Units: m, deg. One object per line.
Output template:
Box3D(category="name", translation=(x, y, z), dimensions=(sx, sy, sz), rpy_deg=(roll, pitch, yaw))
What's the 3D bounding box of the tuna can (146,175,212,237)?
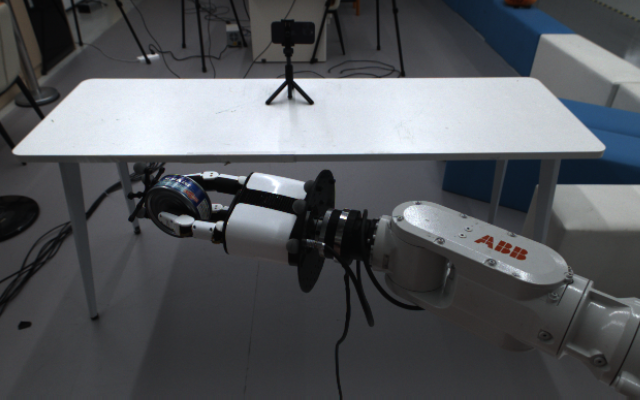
Box3D(category="tuna can", translation=(-0.191, 0.006, 0.659), dimensions=(0.085, 0.085, 0.034), rpy_deg=(10, 36, 11))
